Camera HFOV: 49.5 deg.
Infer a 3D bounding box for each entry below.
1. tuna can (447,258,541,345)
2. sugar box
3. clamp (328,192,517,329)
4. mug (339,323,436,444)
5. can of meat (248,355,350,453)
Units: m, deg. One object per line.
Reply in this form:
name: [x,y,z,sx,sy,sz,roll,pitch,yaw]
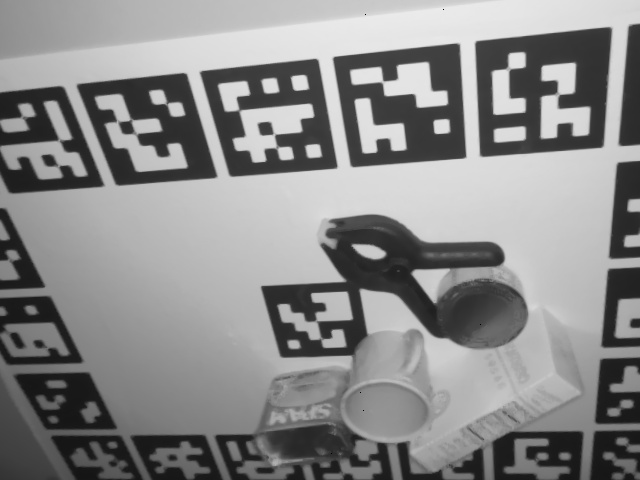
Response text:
tuna can: [0.164,0.055,0.660,0.085,0.034,0.085,3,120,6]
sugar box: [0.167,0.142,0.685,0.174,0.094,0.045,-36,111,27]
clamp: [0.083,0.007,0.647,0.165,0.037,0.120,31,125,-6]
mug: [0.074,0.132,0.688,0.093,0.082,0.115,21,120,-4]
can of meat: [-0.019,0.172,0.735,0.101,0.085,0.057,-8,121,15]
